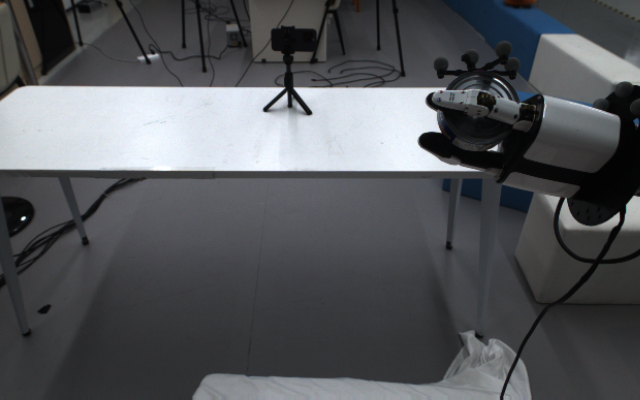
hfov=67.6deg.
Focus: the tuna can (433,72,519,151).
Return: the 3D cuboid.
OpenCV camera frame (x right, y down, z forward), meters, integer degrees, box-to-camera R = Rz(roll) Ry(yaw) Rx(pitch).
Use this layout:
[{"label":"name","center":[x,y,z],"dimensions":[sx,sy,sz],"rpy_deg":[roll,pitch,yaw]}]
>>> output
[{"label":"tuna can","center":[0.177,-0.102,0.546],"dimensions":[0.085,0.034,0.085],"rpy_deg":[-1,74,4]}]
